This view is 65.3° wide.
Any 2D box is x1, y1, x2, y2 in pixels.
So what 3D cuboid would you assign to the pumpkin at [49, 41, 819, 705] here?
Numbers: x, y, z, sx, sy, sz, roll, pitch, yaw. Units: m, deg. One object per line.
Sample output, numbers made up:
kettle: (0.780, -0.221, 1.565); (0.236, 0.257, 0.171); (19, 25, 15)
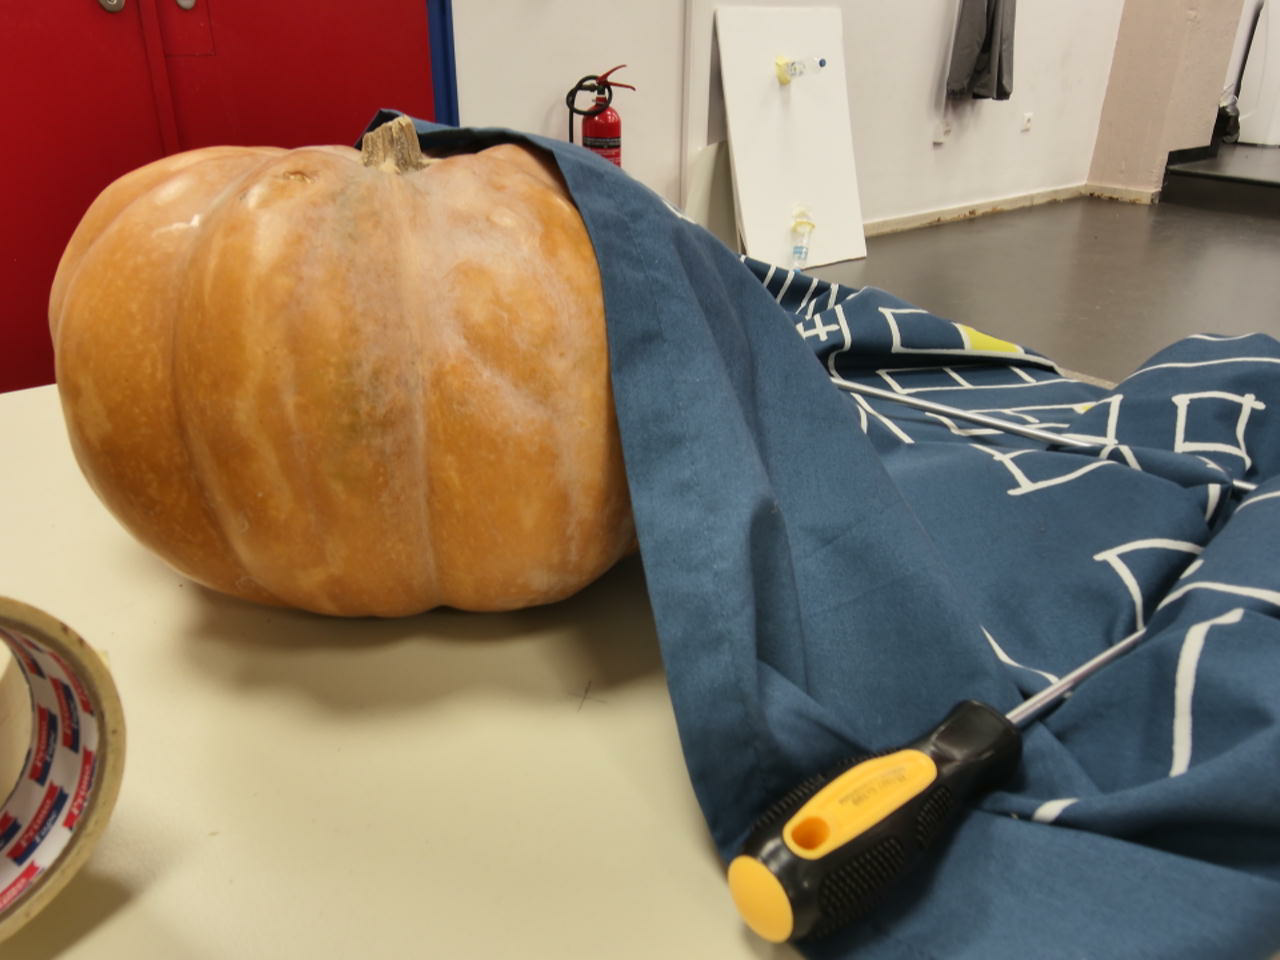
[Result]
pumpkin: (-0.092, -0.051, 0.409); (0.277, 0.181, 0.277); (0, 24, 0)
